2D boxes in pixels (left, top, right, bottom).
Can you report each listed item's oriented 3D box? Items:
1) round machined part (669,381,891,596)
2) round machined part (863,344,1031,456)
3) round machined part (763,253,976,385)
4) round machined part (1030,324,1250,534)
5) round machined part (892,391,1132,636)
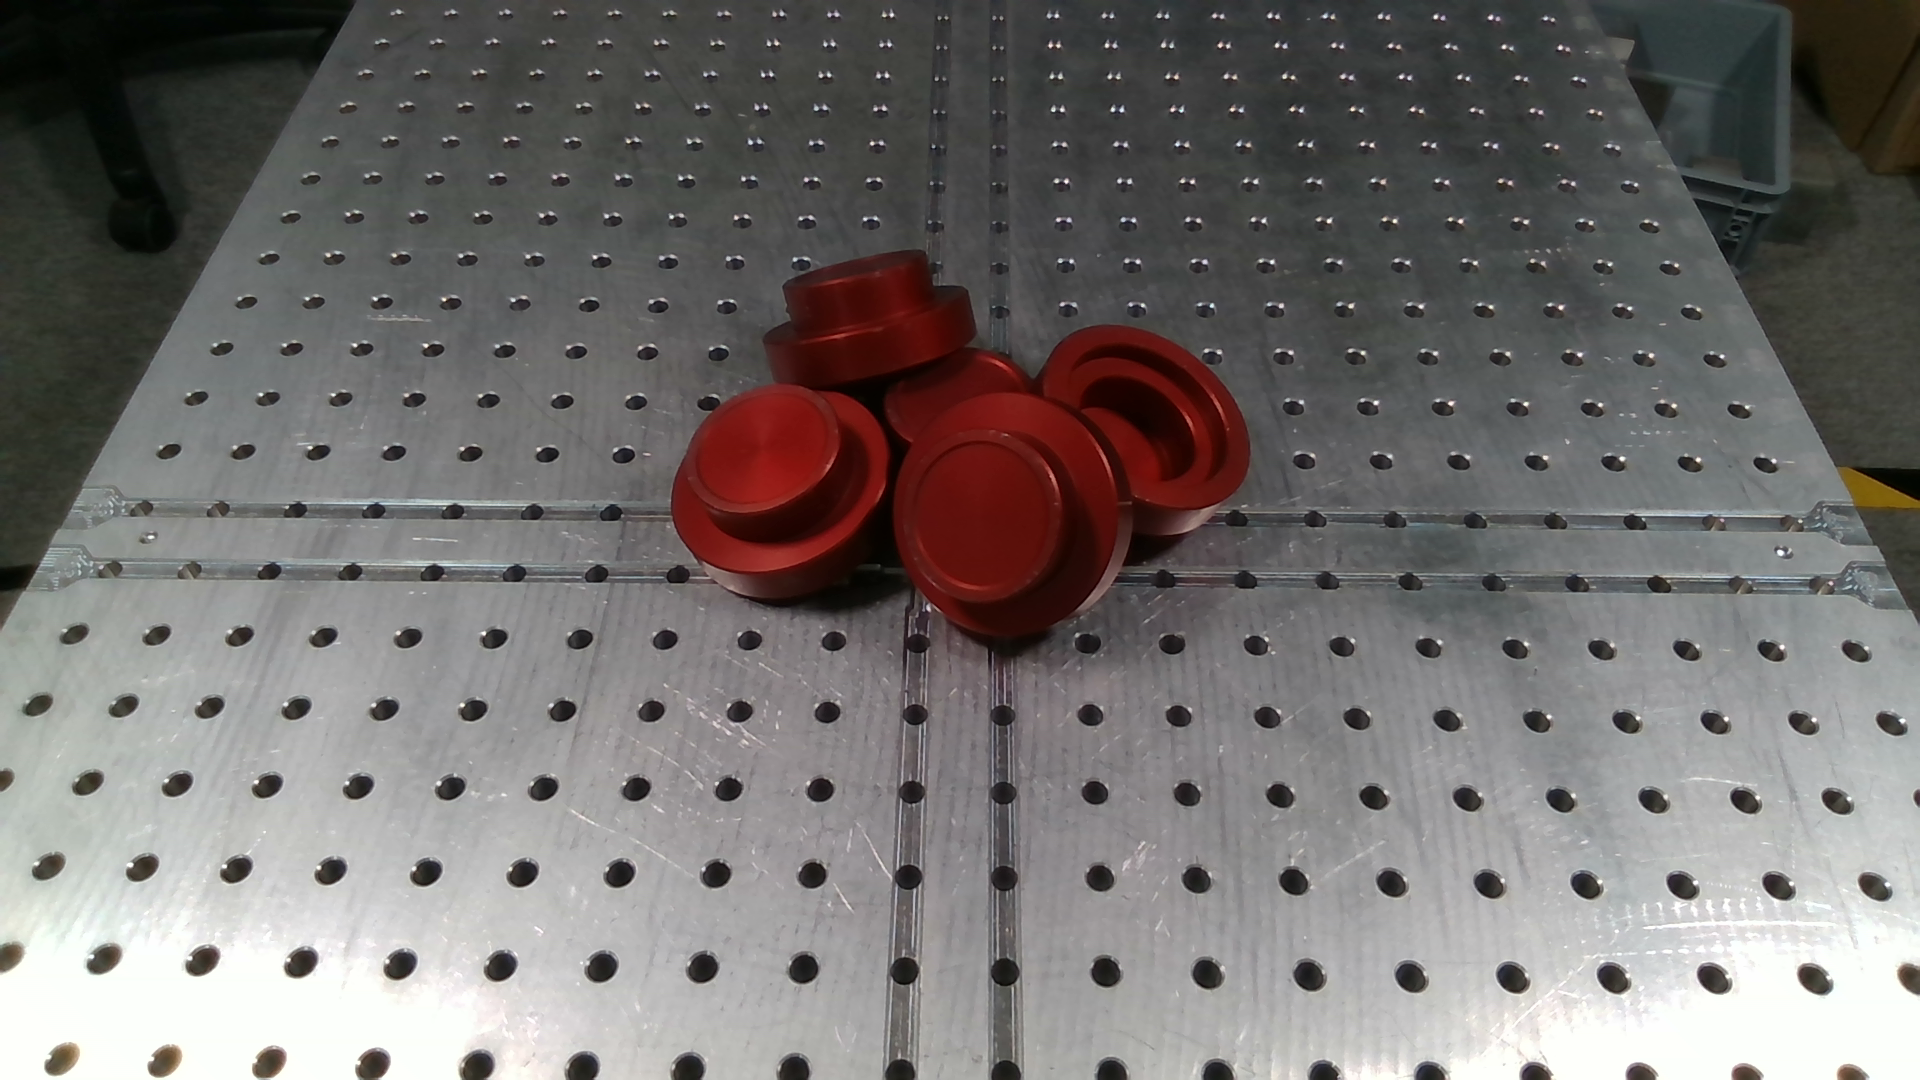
[{"bbox_3d":[-0.078,-0.028,0.587,0.098,0.042,0.098,-6,56,10],"label":"round machined part"},{"bbox_3d":[0.000,-0.051,0.620,0.098,0.042,0.098,0,50,0],"label":"round machined part"},{"bbox_3d":[-0.044,-0.106,0.636,0.098,0.042,0.098,-12,19,4],"label":"round machined part"},{"bbox_3d":[0.073,-0.043,0.601,0.098,0.042,0.098,12,53,-17],"label":"round machined part"},{"bbox_3d":[0.016,-0.010,0.549,0.098,0.098,0.042,27,14,21],"label":"round machined part"}]
